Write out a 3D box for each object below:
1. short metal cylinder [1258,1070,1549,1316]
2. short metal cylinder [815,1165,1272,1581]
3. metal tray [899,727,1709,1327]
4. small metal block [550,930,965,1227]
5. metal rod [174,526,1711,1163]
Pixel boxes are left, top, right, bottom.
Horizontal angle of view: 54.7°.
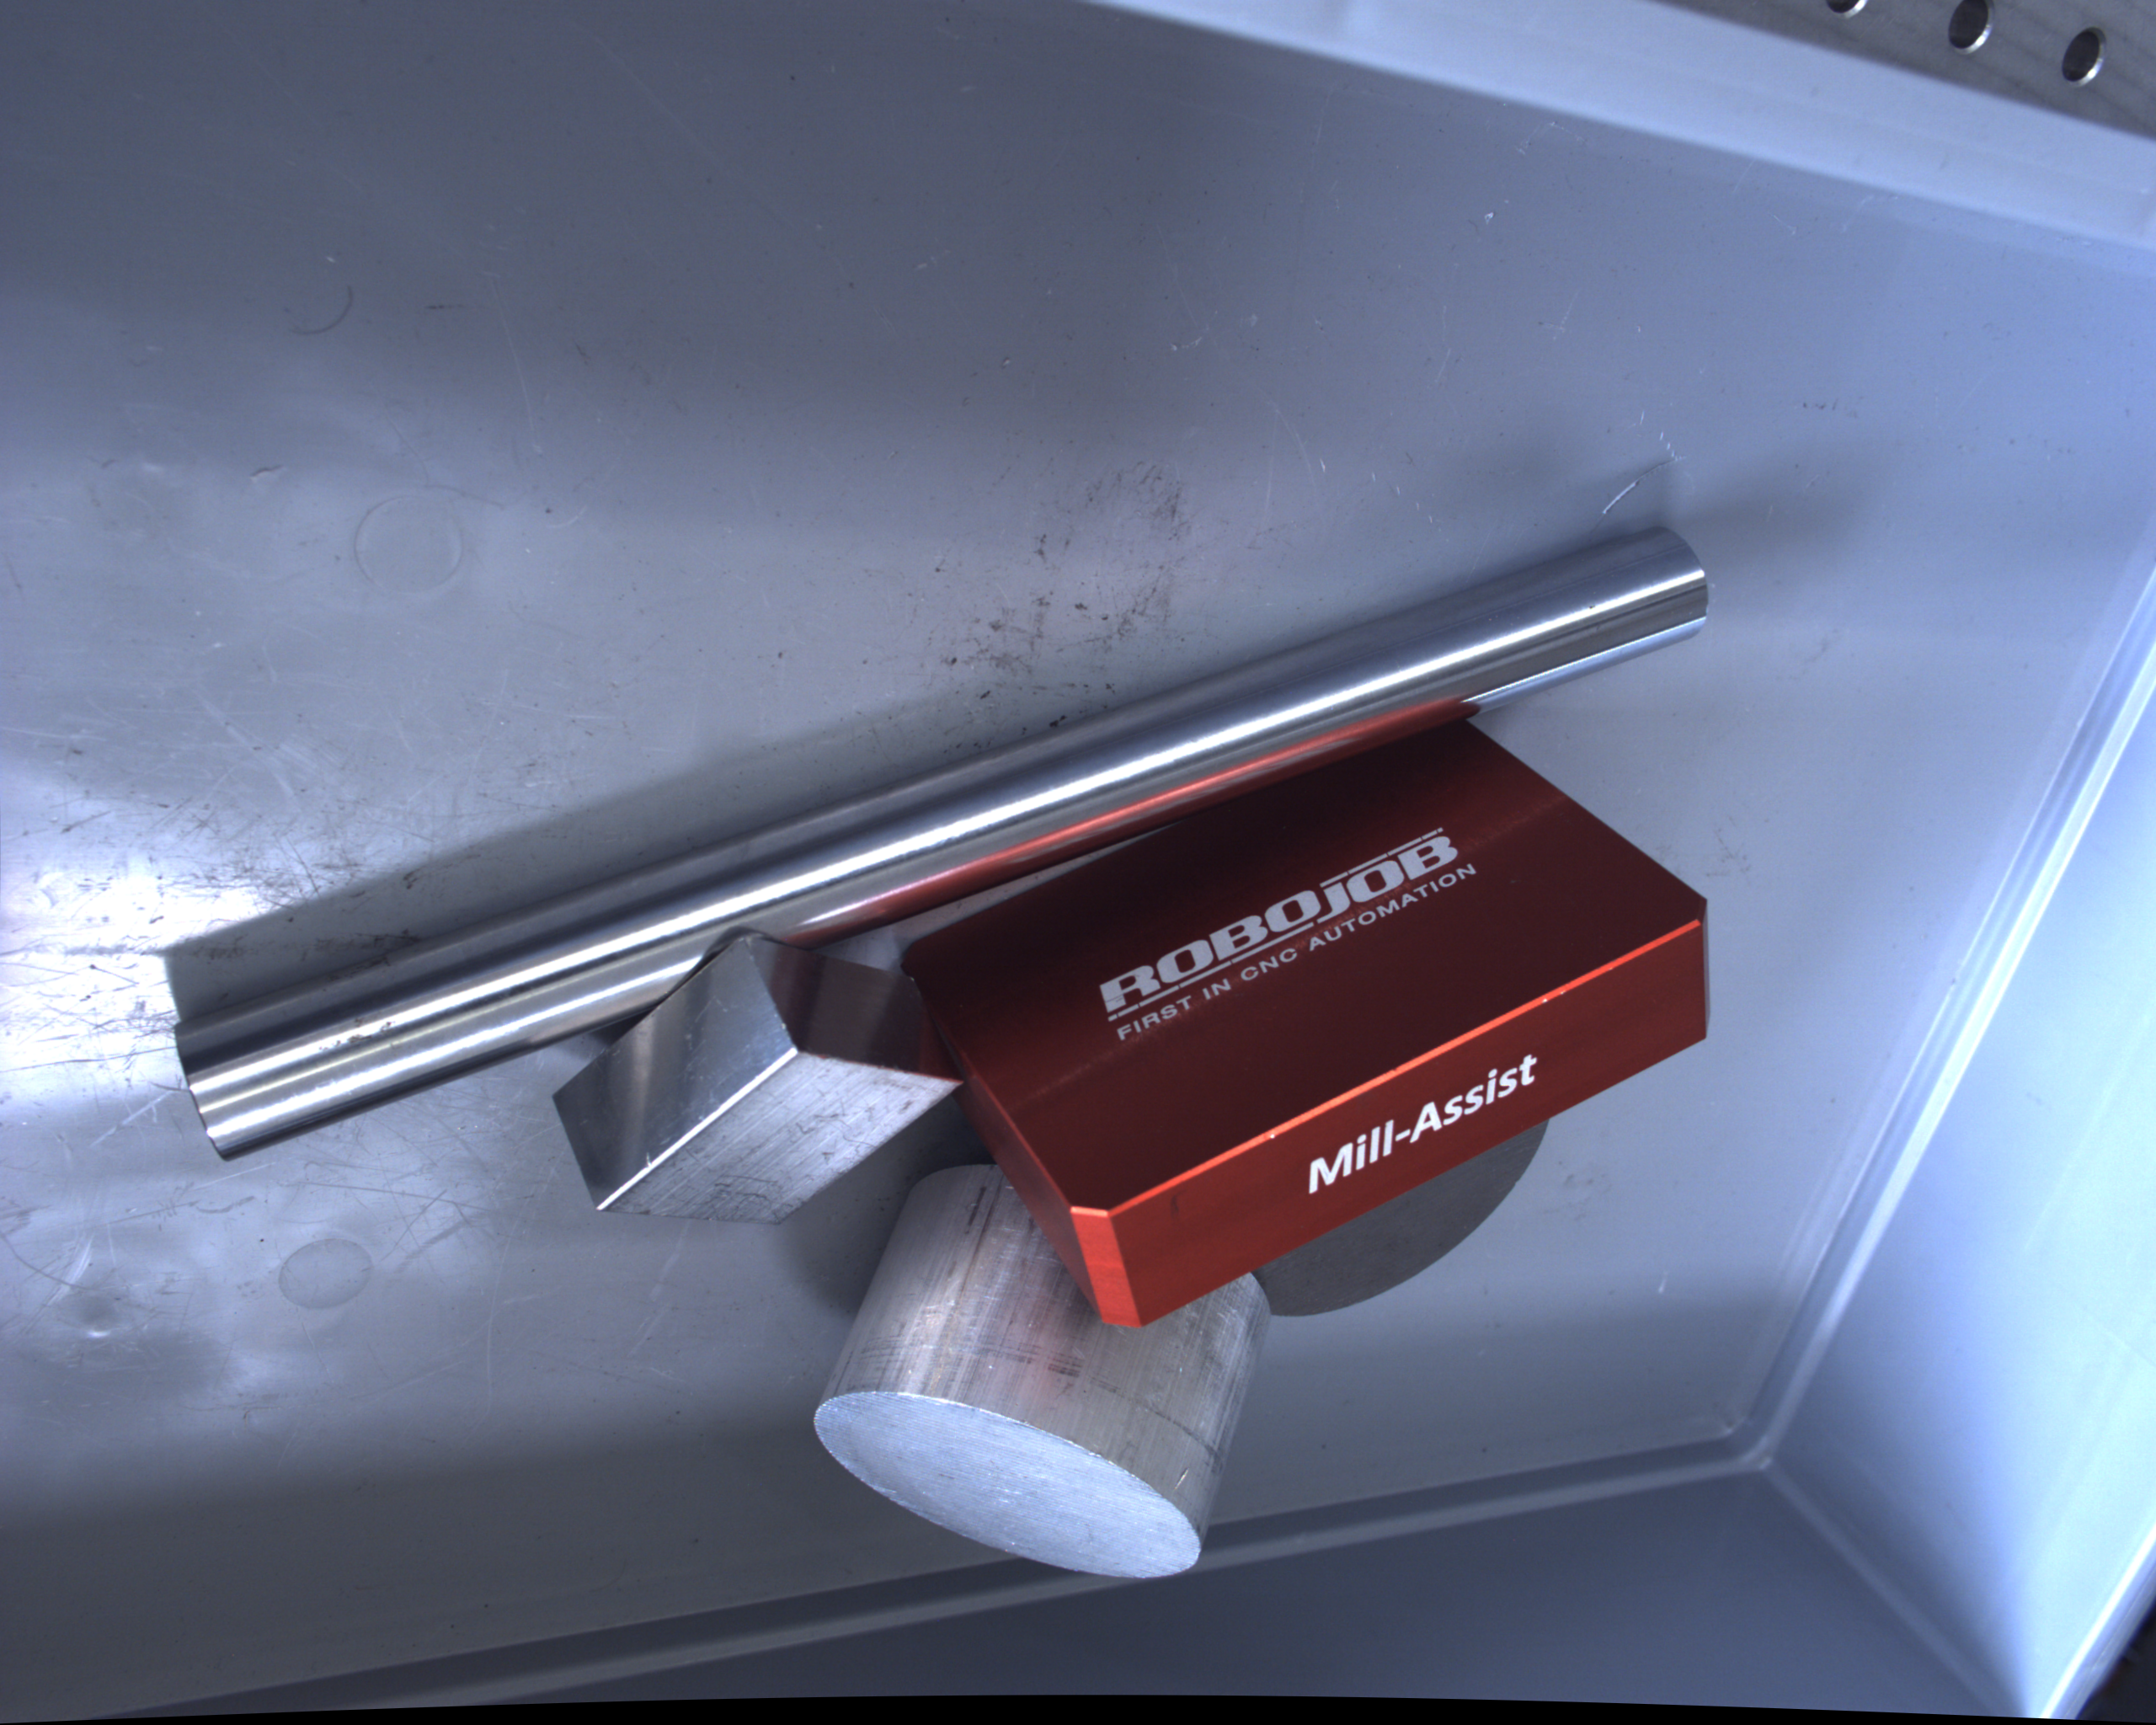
[{"bbox_3d":[0.053,0.050,0.444,0.081,0.050,0.079,-18,135,-19],"label":"short metal cylinder"},{"bbox_3d":[-0.006,0.104,0.423,0.080,0.080,0.050,56,44,-39],"label":"short metal cylinder"},{"bbox_3d":[0.042,0.025,0.403,0.131,0.090,0.030,-24,127,-14],"label":"metal tray"},{"bbox_3d":[-0.058,0.041,0.384,0.050,0.025,0.050,-39,151,18],"label":"small metal block"},{"bbox_3d":[-0.011,-0.010,0.394,0.302,0.025,0.025,-20,126,-17],"label":"metal rod"}]
